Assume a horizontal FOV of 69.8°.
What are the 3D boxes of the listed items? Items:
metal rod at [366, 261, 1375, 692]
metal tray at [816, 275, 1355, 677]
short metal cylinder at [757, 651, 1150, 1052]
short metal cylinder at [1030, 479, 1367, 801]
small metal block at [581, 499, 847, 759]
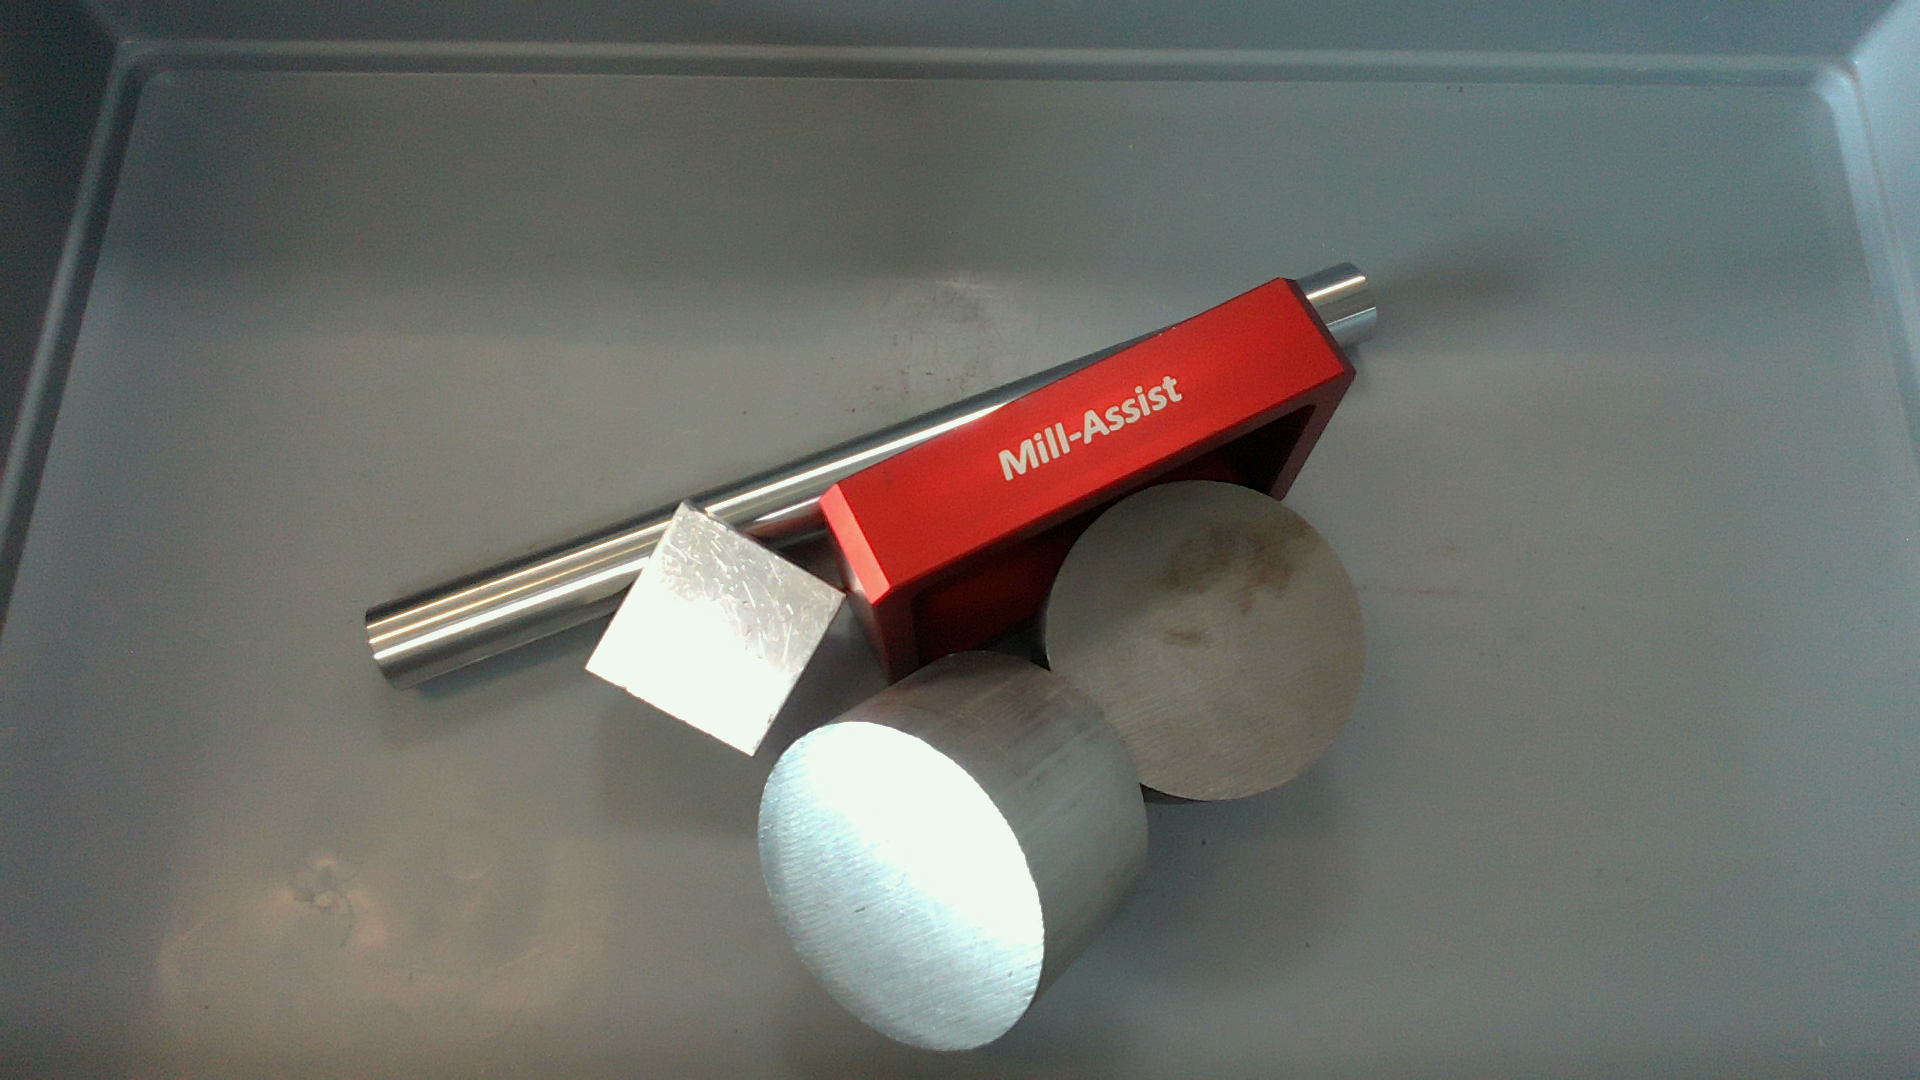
[{"bbox_3d":[-0.019,-0.021,0.401,0.300,0.025,0.025,-20,71,-7],"label":"metal rod"},{"bbox_3d":[0.031,-0.012,0.363,0.130,0.090,0.030,-25,72,-9],"label":"metal tray"},{"bbox_3d":[-0.002,0.073,0.330,0.080,0.080,0.050,45,35,15],"label":"short metal cylinder"},{"bbox_3d":[0.060,0.029,0.364,0.080,0.050,0.080,1,78,-4],"label":"short metal cylinder"},{"bbox_3d":[-0.066,0.023,0.371,0.050,0.025,0.050,30,88,-9],"label":"small metal block"}]
